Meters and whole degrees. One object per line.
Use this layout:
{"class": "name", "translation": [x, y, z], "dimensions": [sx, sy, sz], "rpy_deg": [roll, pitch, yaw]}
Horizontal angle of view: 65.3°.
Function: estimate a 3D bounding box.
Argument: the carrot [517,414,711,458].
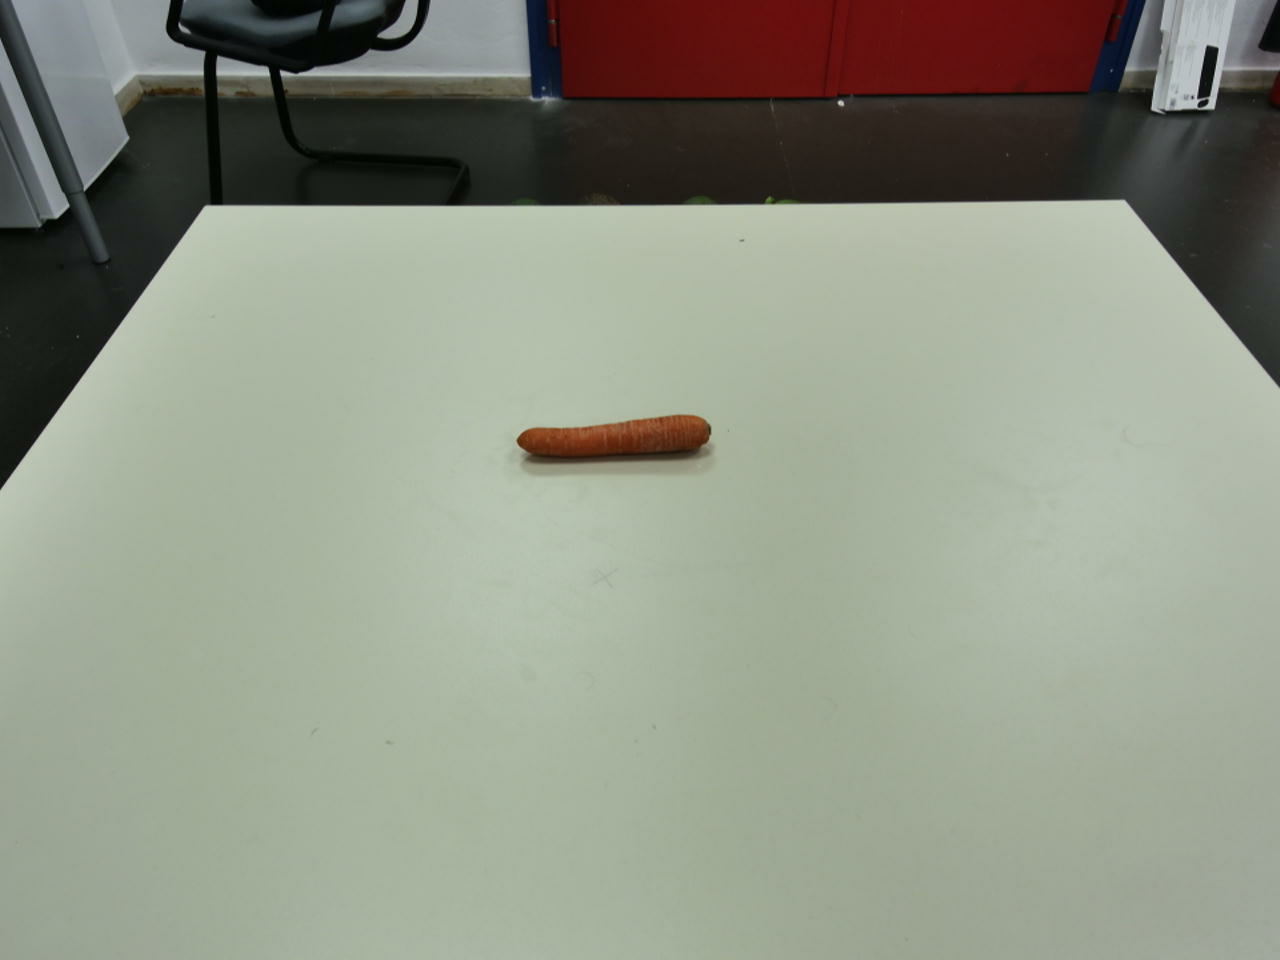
{"class": "carrot", "translation": [-0.016, -0.027, 0.623], "dimensions": [0.122, 0.023, 0.024], "rpy_deg": [-2, 39, -2]}
